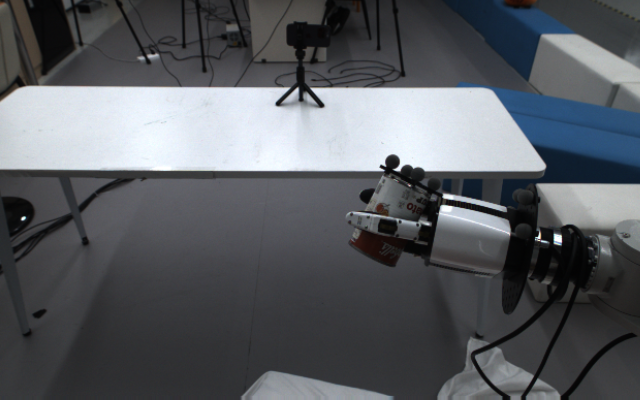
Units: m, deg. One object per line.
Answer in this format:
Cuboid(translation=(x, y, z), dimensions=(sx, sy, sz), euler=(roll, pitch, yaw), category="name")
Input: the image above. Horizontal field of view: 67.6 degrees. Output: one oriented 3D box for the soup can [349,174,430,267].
Cuboid(translation=(0.090, 0.025, 0.613), dimensions=(0.067, 0.101, 0.067), euler=(26, 5, -3), category="soup can")
